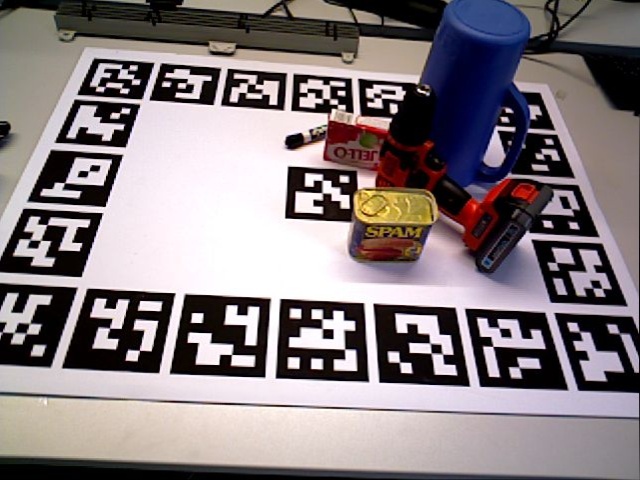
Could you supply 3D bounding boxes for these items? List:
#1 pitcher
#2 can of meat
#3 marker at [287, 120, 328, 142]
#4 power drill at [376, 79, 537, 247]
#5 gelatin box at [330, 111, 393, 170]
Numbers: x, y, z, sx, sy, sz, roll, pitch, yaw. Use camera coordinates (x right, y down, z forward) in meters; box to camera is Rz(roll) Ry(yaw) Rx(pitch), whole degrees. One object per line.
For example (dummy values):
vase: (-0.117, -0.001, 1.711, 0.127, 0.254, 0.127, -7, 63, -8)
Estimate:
pitcher: (0.214, -0.180, 0.717, 0.189, 0.247, 0.130, 27, 57, 21)
can of meat: (0.092, -0.013, 0.668, 0.101, 0.086, 0.057, 3, 51, -5)
marker: (0.007, -0.170, 0.817, 0.119, 0.020, 0.019, -19, 58, -18)
power drill: (0.164, -0.088, 0.672, 0.187, 0.188, 0.056, 35, 59, 12)
gelatin box: (0.063, -0.138, 0.769, 0.089, 0.075, 0.029, 13, 56, 1)
